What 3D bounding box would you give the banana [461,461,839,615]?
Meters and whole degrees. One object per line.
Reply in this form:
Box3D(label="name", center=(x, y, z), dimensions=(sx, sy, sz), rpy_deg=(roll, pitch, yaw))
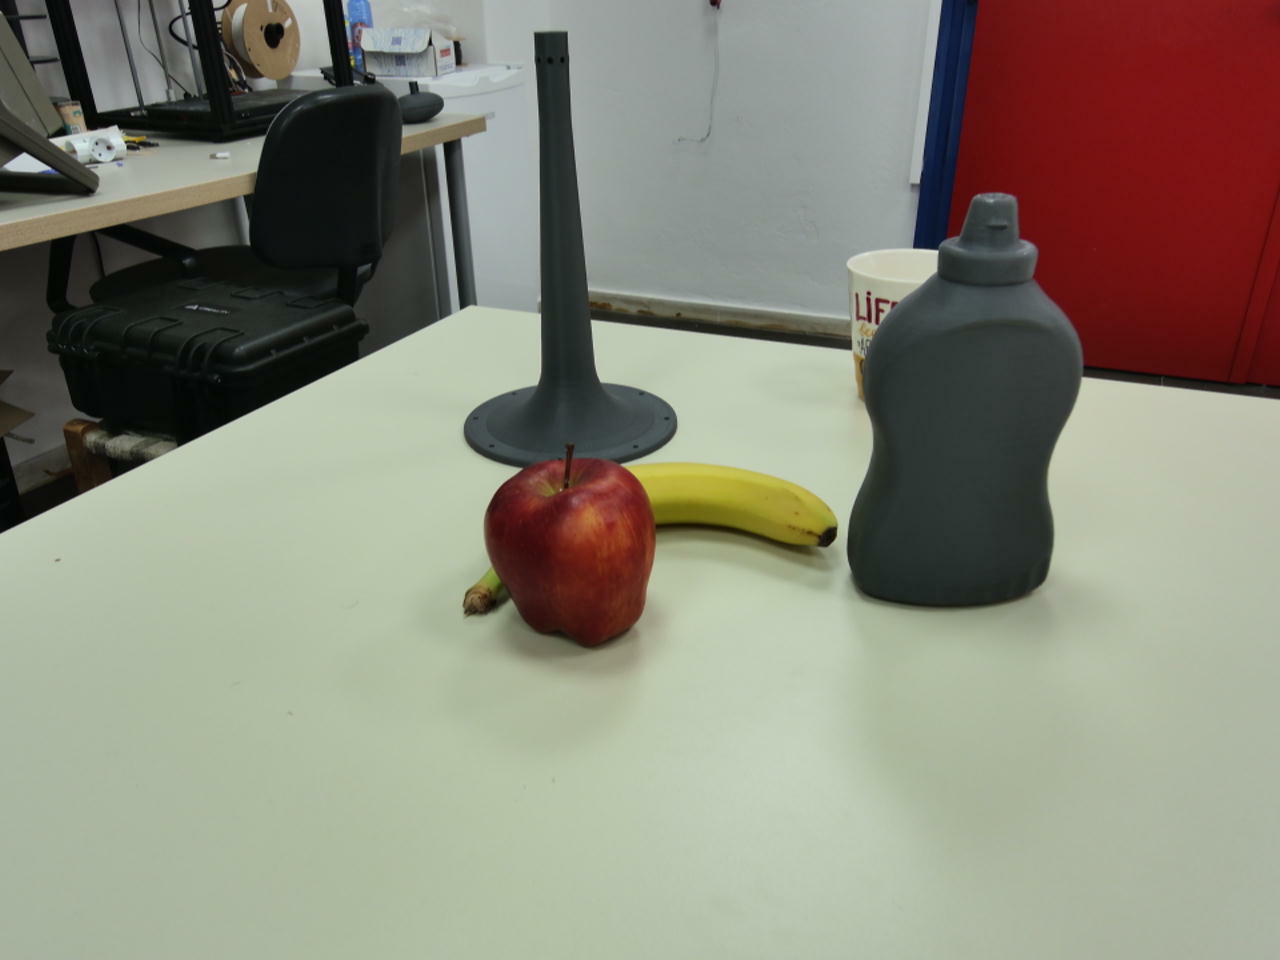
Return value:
Box3D(label="banana", center=(0.001, 0.022, 0.542), dimensions=(0.196, 0.041, 0.094), rpy_deg=(-5, 25, -10))
